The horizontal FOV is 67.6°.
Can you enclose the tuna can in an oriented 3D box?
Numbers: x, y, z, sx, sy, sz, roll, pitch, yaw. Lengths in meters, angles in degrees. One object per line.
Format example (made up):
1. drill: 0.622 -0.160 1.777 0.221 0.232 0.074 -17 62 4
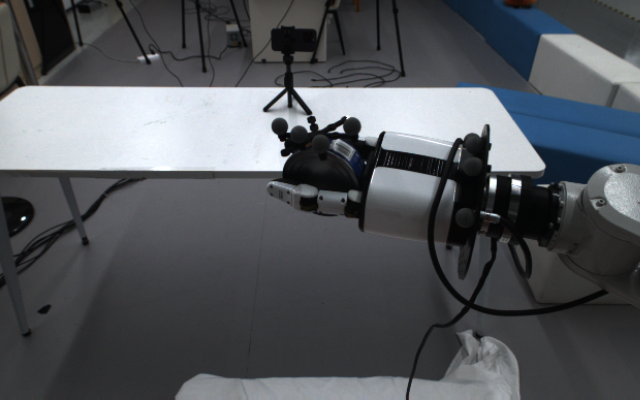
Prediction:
1. tuna can: 0.008 -0.027 0.519 0.085 0.085 0.034 14 40 16
